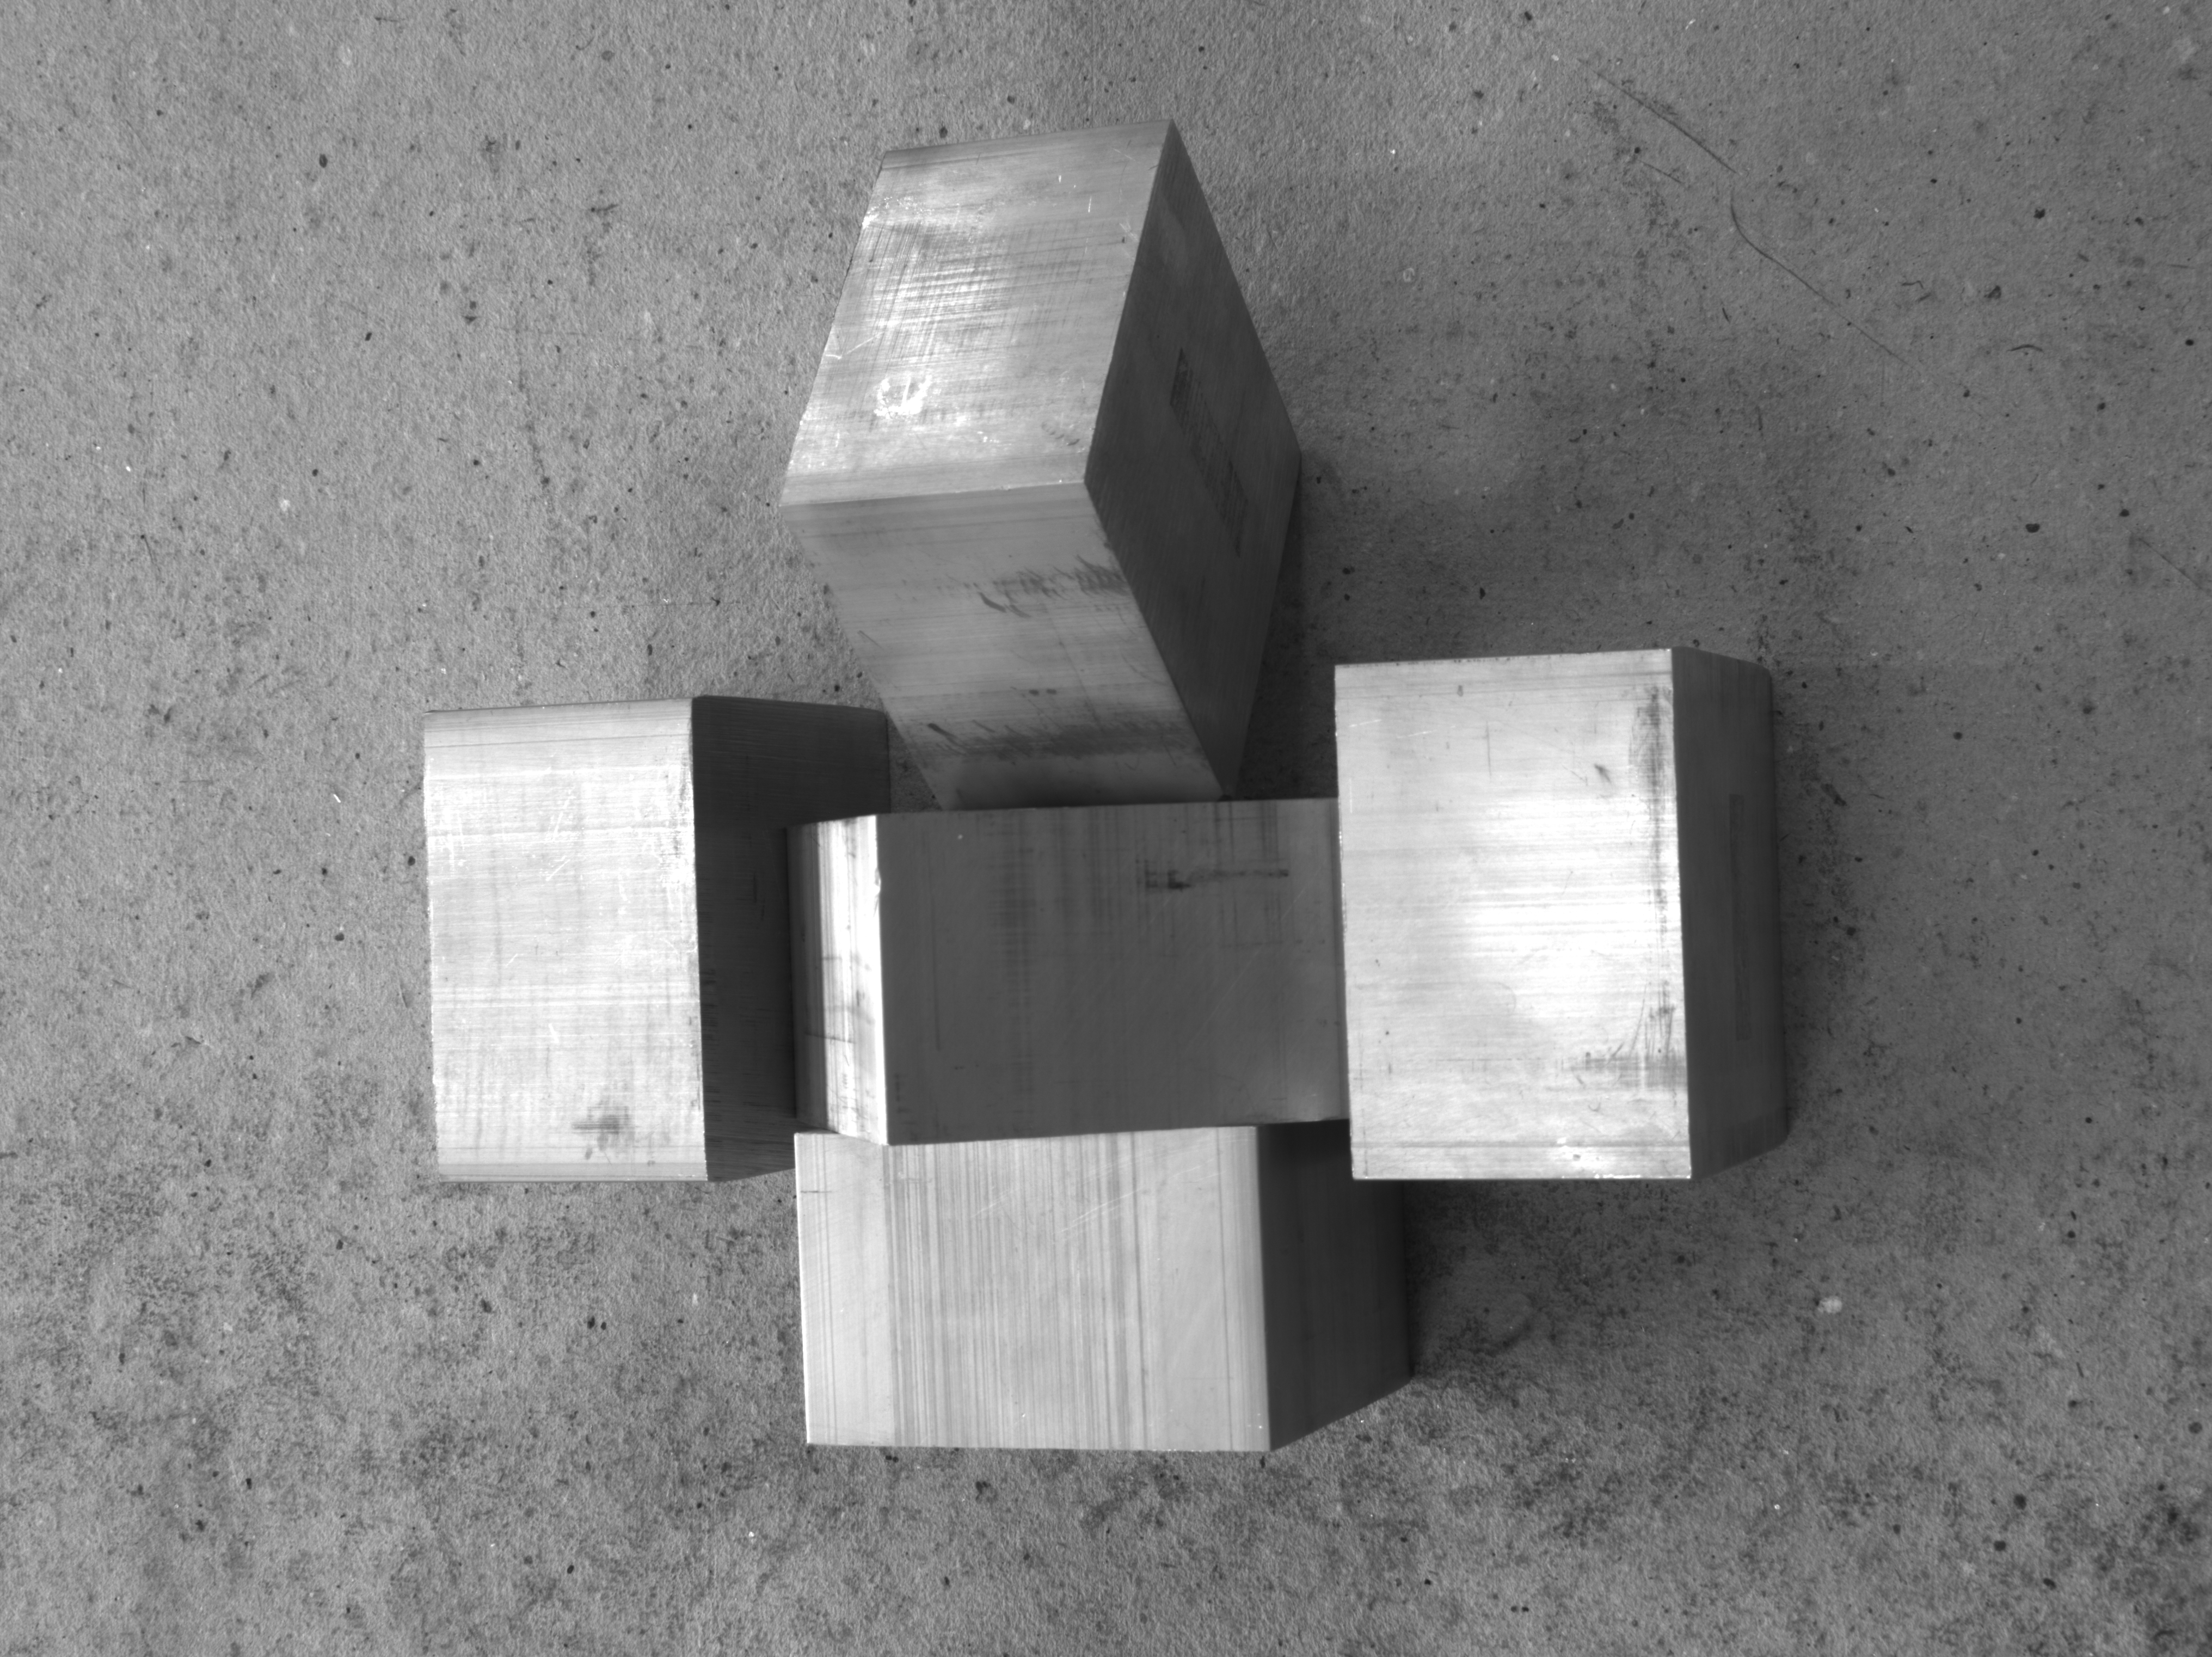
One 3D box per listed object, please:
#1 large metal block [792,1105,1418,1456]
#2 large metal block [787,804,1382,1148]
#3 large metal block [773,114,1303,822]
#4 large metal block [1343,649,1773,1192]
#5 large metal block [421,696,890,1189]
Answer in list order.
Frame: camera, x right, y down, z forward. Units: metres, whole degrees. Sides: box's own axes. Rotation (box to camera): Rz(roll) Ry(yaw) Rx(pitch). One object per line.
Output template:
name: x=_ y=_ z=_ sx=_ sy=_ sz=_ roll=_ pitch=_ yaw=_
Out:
large metal block: x=0.002 y=0.073 z=0.617 sx=0.080 sy=0.080 sz=0.050 roll=-3 pitch=89 yaw=20
large metal block: x=-0.006 y=0.023 z=0.604 sx=0.080 sy=0.080 sz=0.050 roll=-2 pitch=88 yaw=-15
large metal block: x=-0.008 y=-0.057 z=0.605 sx=0.050 sy=0.080 sz=0.080 roll=-3 pitch=51 yaw=20
large metal block: x=0.074 y=0.015 z=0.590 sx=0.050 sy=0.080 sz=0.080 roll=-2 pitch=88 yaw=19
large metal block: x=-0.076 y=0.020 z=0.644 sx=0.050 sy=0.080 sz=0.080 roll=-2 pitch=89 yaw=20
